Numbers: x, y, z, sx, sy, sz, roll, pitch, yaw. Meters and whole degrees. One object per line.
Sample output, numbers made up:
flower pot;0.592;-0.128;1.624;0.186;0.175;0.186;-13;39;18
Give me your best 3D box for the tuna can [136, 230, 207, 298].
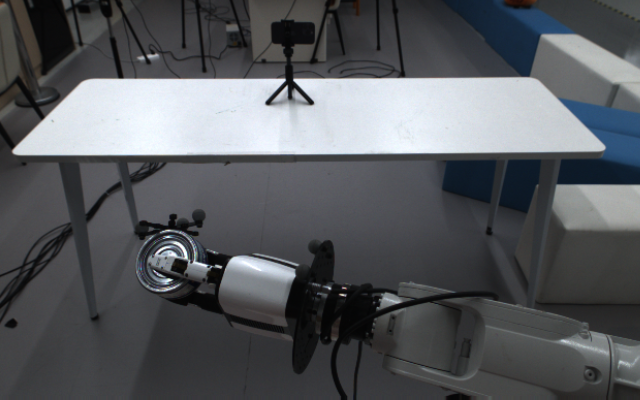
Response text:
tuna can;-0.186;0.088;0.616;0.085;0.034;0.085;-3;69;9
